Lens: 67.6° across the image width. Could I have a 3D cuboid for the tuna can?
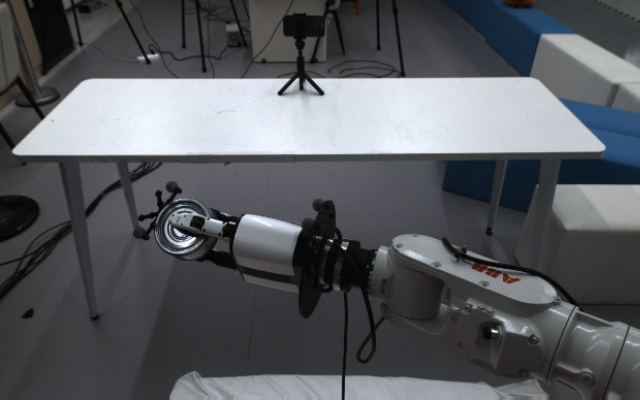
[{"bbox_3d":[-0.186,0.042,0.684,0.085,0.034,0.085,-2,73,6],"label":"tuna can"}]
